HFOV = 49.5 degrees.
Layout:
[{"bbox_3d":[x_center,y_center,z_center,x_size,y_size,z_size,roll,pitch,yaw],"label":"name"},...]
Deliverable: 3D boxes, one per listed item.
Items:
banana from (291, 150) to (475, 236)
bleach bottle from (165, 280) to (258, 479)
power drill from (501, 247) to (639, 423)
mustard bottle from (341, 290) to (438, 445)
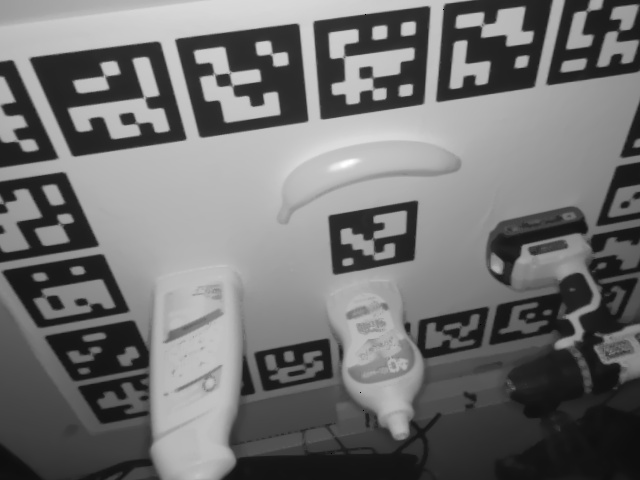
[{"bbox_3d":[0.059,-0.055,0.695,0.198,0.039,0.074,-15,131,-4],"label":"banana"},{"bbox_3d":[-0.105,0.151,0.706,0.103,0.252,0.067,-3,132,-9],"label":"bleach bottle"},{"bbox_3d":[0.272,0.099,0.753,0.185,0.187,0.057,-16,133,-4],"label":"power drill"},{"bbox_3d":[0.084,0.145,0.790,0.096,0.192,0.058,-14,133,3],"label":"mustard bottle"}]
